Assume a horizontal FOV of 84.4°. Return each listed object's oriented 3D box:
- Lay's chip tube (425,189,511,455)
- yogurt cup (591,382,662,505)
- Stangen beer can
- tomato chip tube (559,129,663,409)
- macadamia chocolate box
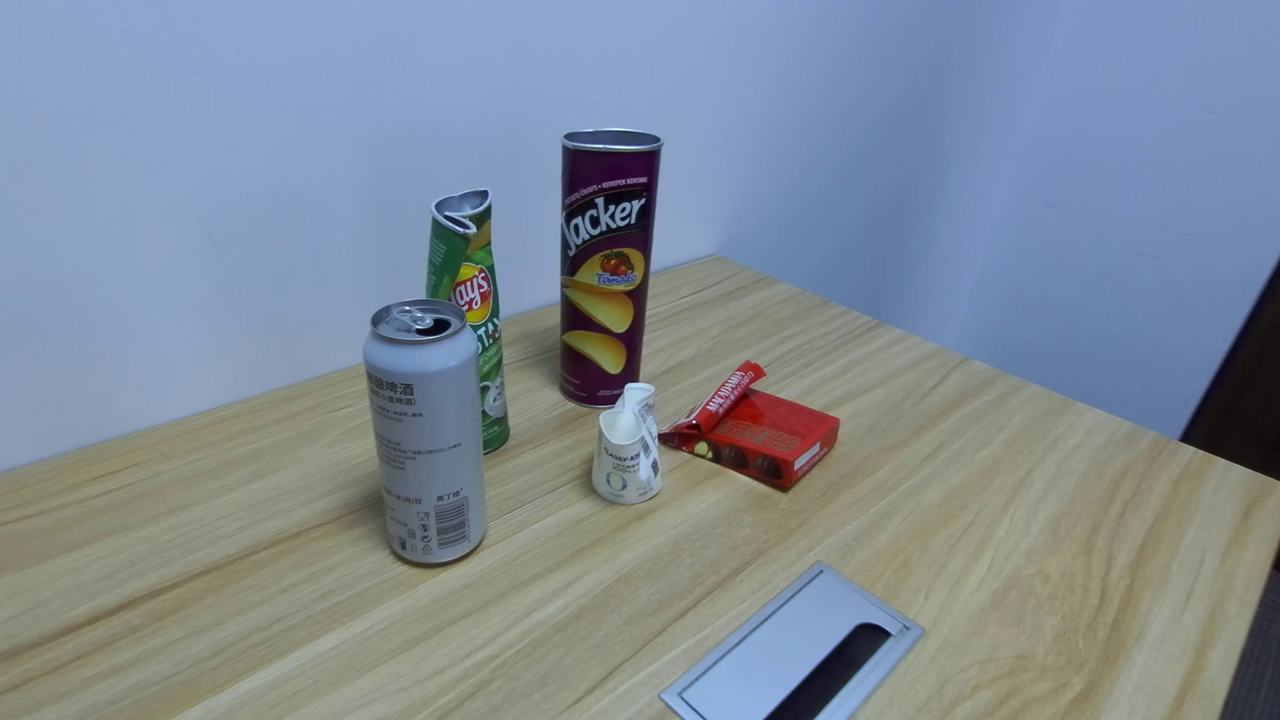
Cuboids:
[{"bbox_3d":[-0.138,-0.024,0.554,0.069,0.201,0.077,-10,34,-26],"label":"Lay's chip tube"},{"bbox_3d":[-0.008,0.066,0.537,0.054,0.071,0.075,-4,31,-14],"label":"yogurt cup"},{"bbox_3d":[-0.135,0.049,0.454,0.067,0.171,0.067,3,29,-1],"label":"Stangen beer can"},{"bbox_3d":[-0.029,-0.075,0.619,0.080,0.234,0.076,9,29,9],"label":"tomato chip tube"},{"bbox_3d":[0.094,0.058,0.608,0.126,0.056,0.112,27,51,30],"label":"macadamia chocolate box"}]
